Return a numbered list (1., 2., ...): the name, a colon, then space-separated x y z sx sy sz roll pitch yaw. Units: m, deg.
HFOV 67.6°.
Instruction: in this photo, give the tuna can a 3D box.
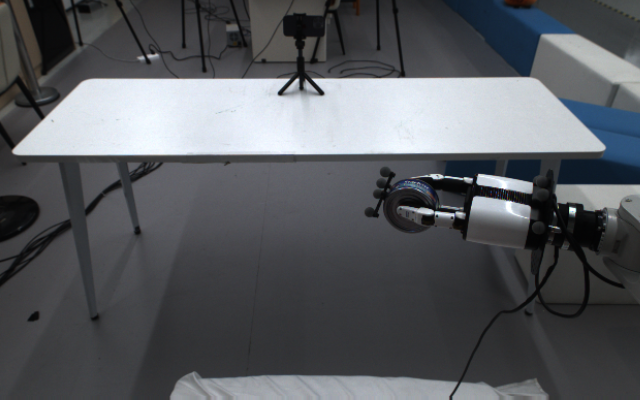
1. tuna can: 0.148 0.009 0.777 0.085 0.085 0.034 12 30 14
